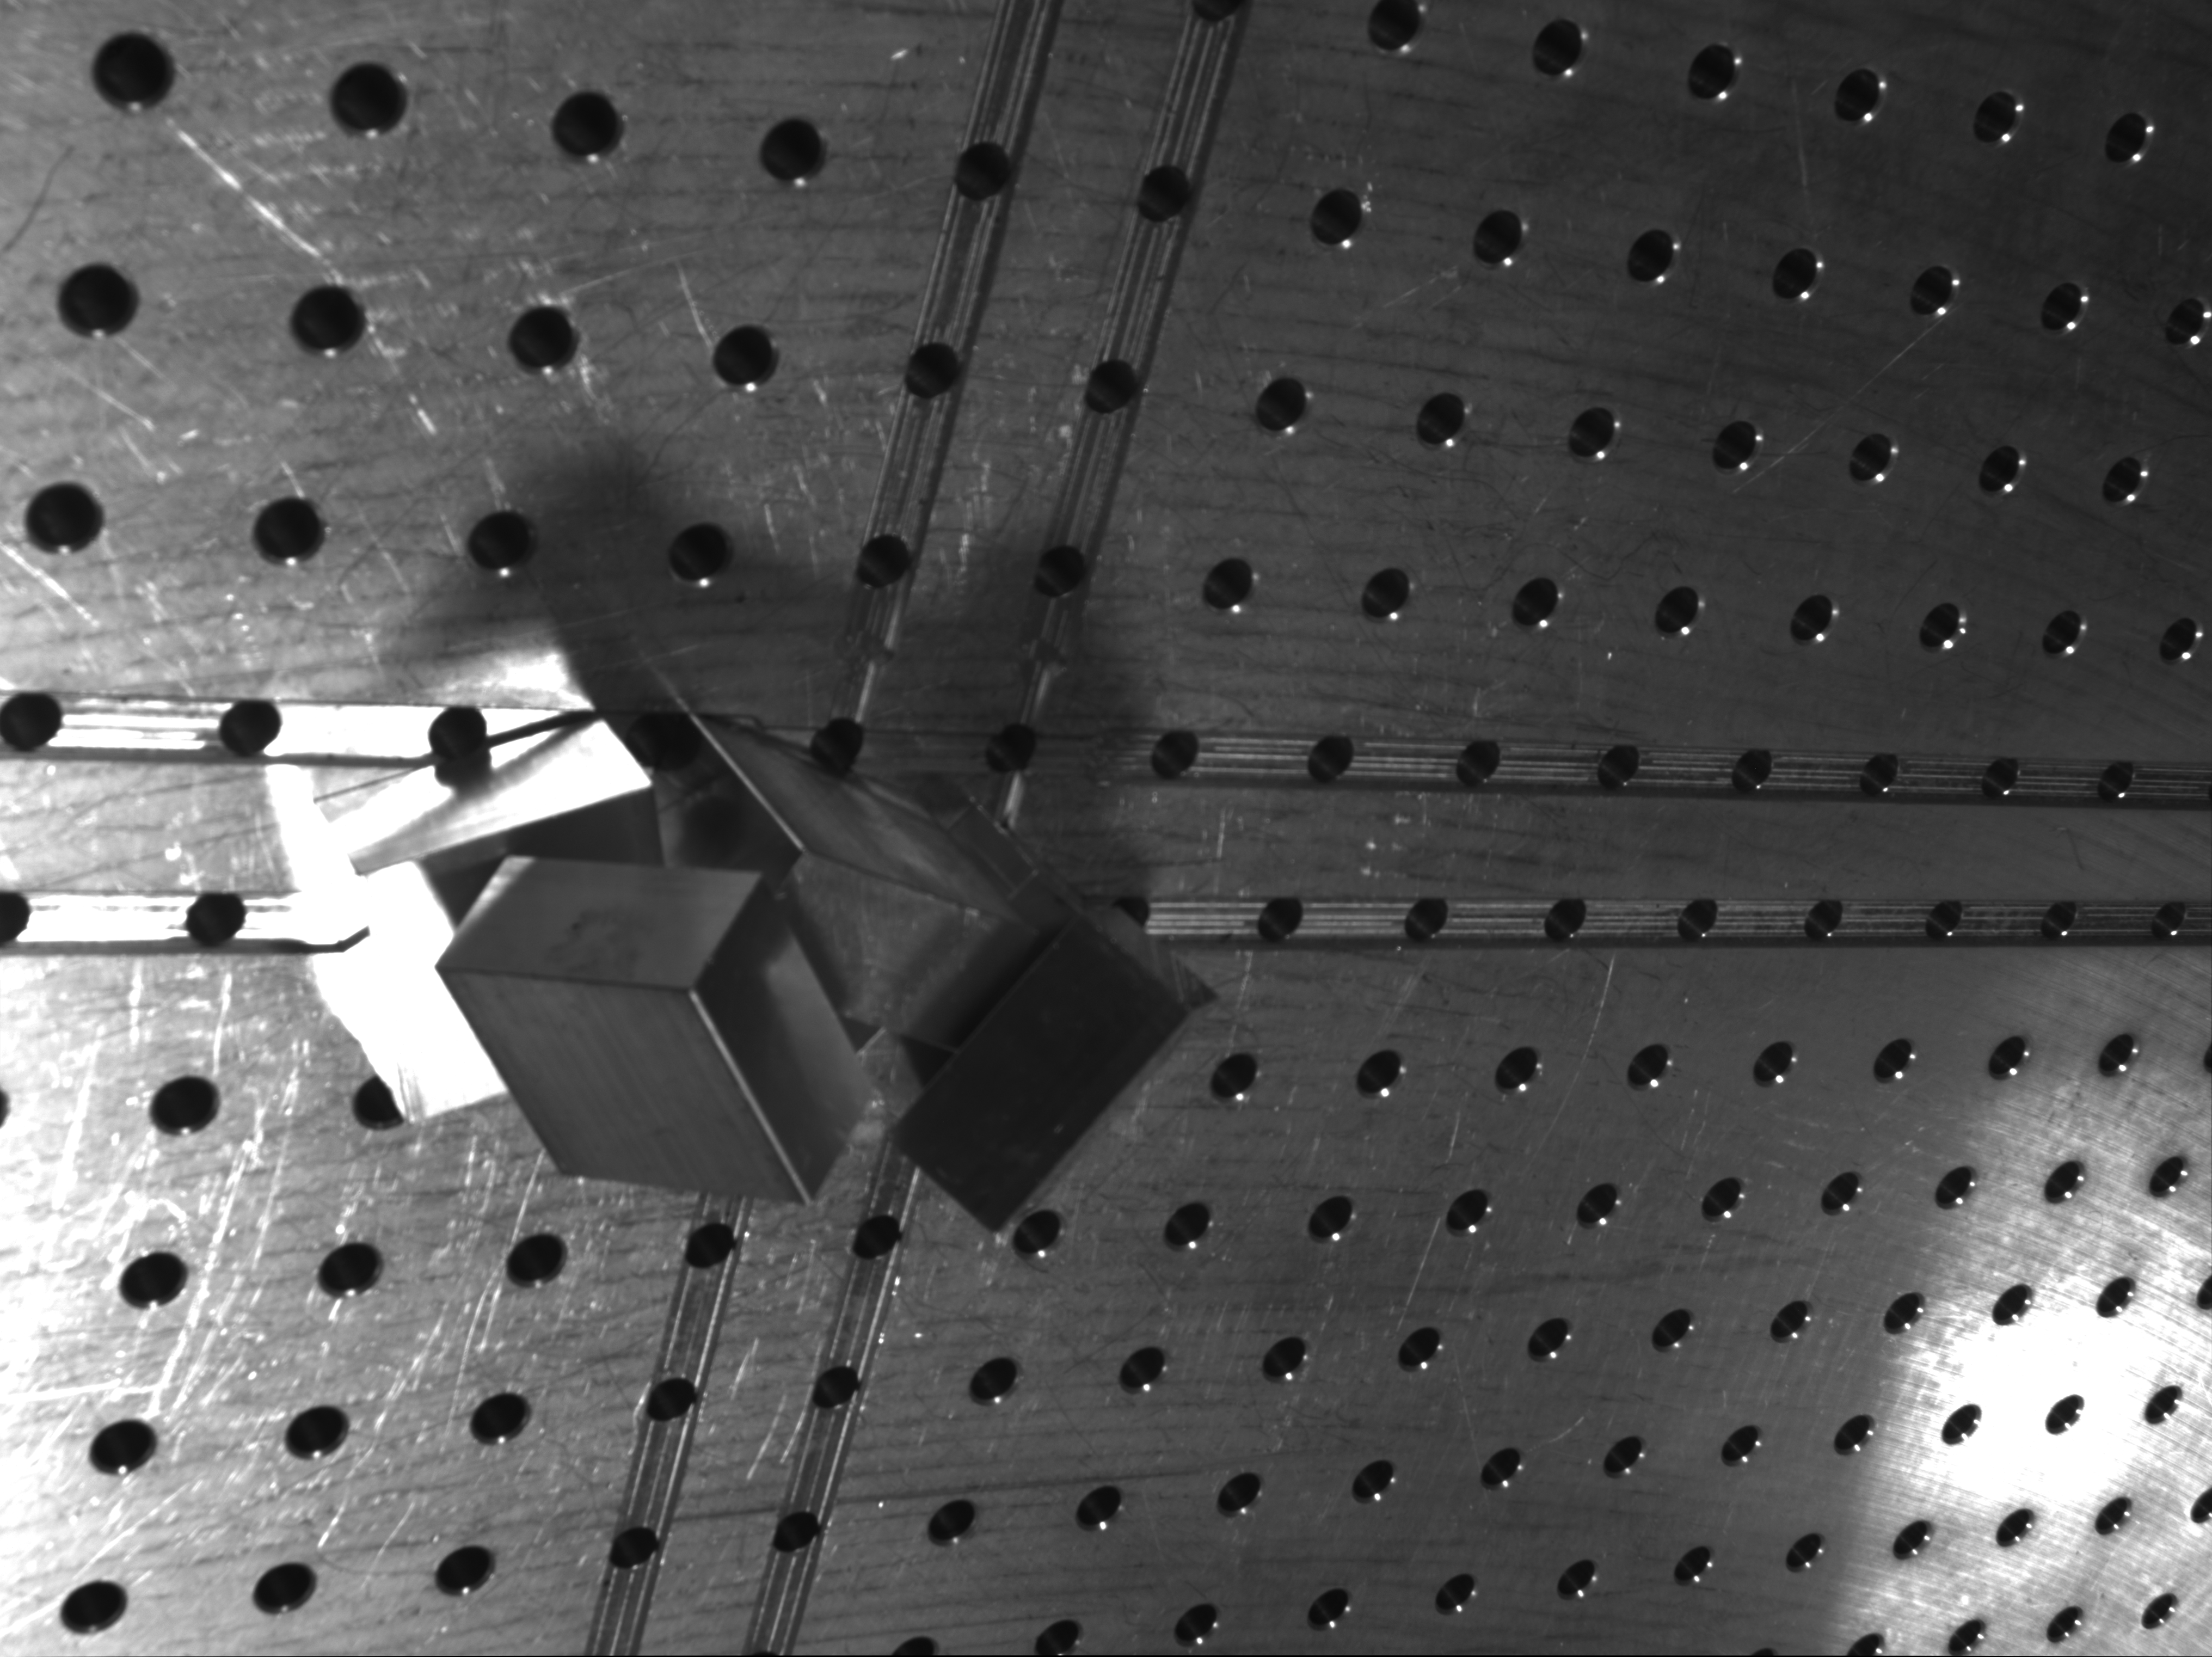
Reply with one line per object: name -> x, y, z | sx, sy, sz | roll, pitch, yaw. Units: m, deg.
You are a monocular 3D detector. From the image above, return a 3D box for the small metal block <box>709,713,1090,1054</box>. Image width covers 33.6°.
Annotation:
small metal block -> -0.039, 0.010, 0.621 | 0.050, 0.050, 0.025 | 21, 106, -37

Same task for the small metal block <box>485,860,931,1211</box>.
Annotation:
small metal block -> -0.063, 0.033, 0.585 | 0.025, 0.050, 0.050 | -61, 142, -37

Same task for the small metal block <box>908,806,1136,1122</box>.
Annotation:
small metal block -> -0.012, 0.033, 0.667 | 0.050, 0.025, 0.050 | -46, 130, 2

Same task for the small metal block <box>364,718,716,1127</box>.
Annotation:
small metal block -> -0.092, 0.015, 0.610 | 0.050, 0.025, 0.050 | -18, 126, -20

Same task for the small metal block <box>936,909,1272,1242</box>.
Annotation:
small metal block -> 0.001, 0.041, 0.629 | 0.050, 0.025, 0.050 | -49, 174, 5
